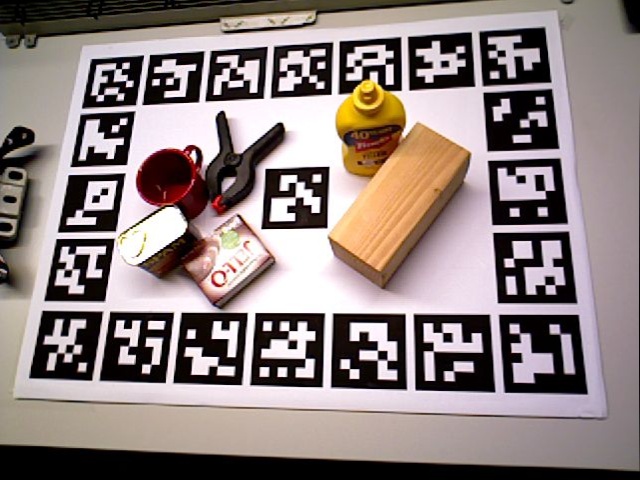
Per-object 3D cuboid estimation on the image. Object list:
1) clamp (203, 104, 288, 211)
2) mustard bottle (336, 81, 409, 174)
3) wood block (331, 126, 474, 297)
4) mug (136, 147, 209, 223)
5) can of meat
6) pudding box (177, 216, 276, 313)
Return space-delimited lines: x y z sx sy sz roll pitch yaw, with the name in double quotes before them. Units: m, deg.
"clamp" -0.131 -0.123 0.834 0.122 0.037 0.164 18 79 12
"mustard bottle" 0.070 -0.154 0.724 0.096 0.193 0.058 -5 71 6
"wood block" 0.115 -0.038 0.741 0.090 0.092 0.205 36 79 19
"mug" -0.214 -0.085 0.831 0.093 0.082 0.116 21 78 14
"can of meat" -0.232 0.008 0.775 0.101 0.084 0.057 -30 71 -2
"pudding box" -0.133 0.036 0.780 0.113 0.039 0.090 -38 72 -6
